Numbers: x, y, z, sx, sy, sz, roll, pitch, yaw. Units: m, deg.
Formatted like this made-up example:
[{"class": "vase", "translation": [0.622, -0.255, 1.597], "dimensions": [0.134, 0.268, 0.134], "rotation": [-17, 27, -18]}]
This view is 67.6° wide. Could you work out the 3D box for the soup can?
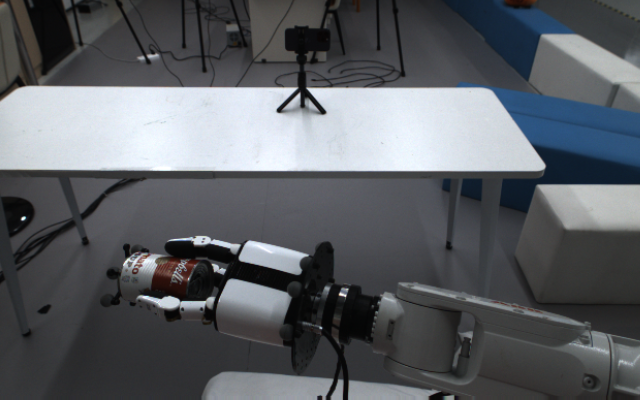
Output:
[{"class": "soup can", "translation": [-0.196, 0.107, 0.626], "dimensions": [0.101, 0.067, 0.067], "rotation": [5, 34, 14]}]
